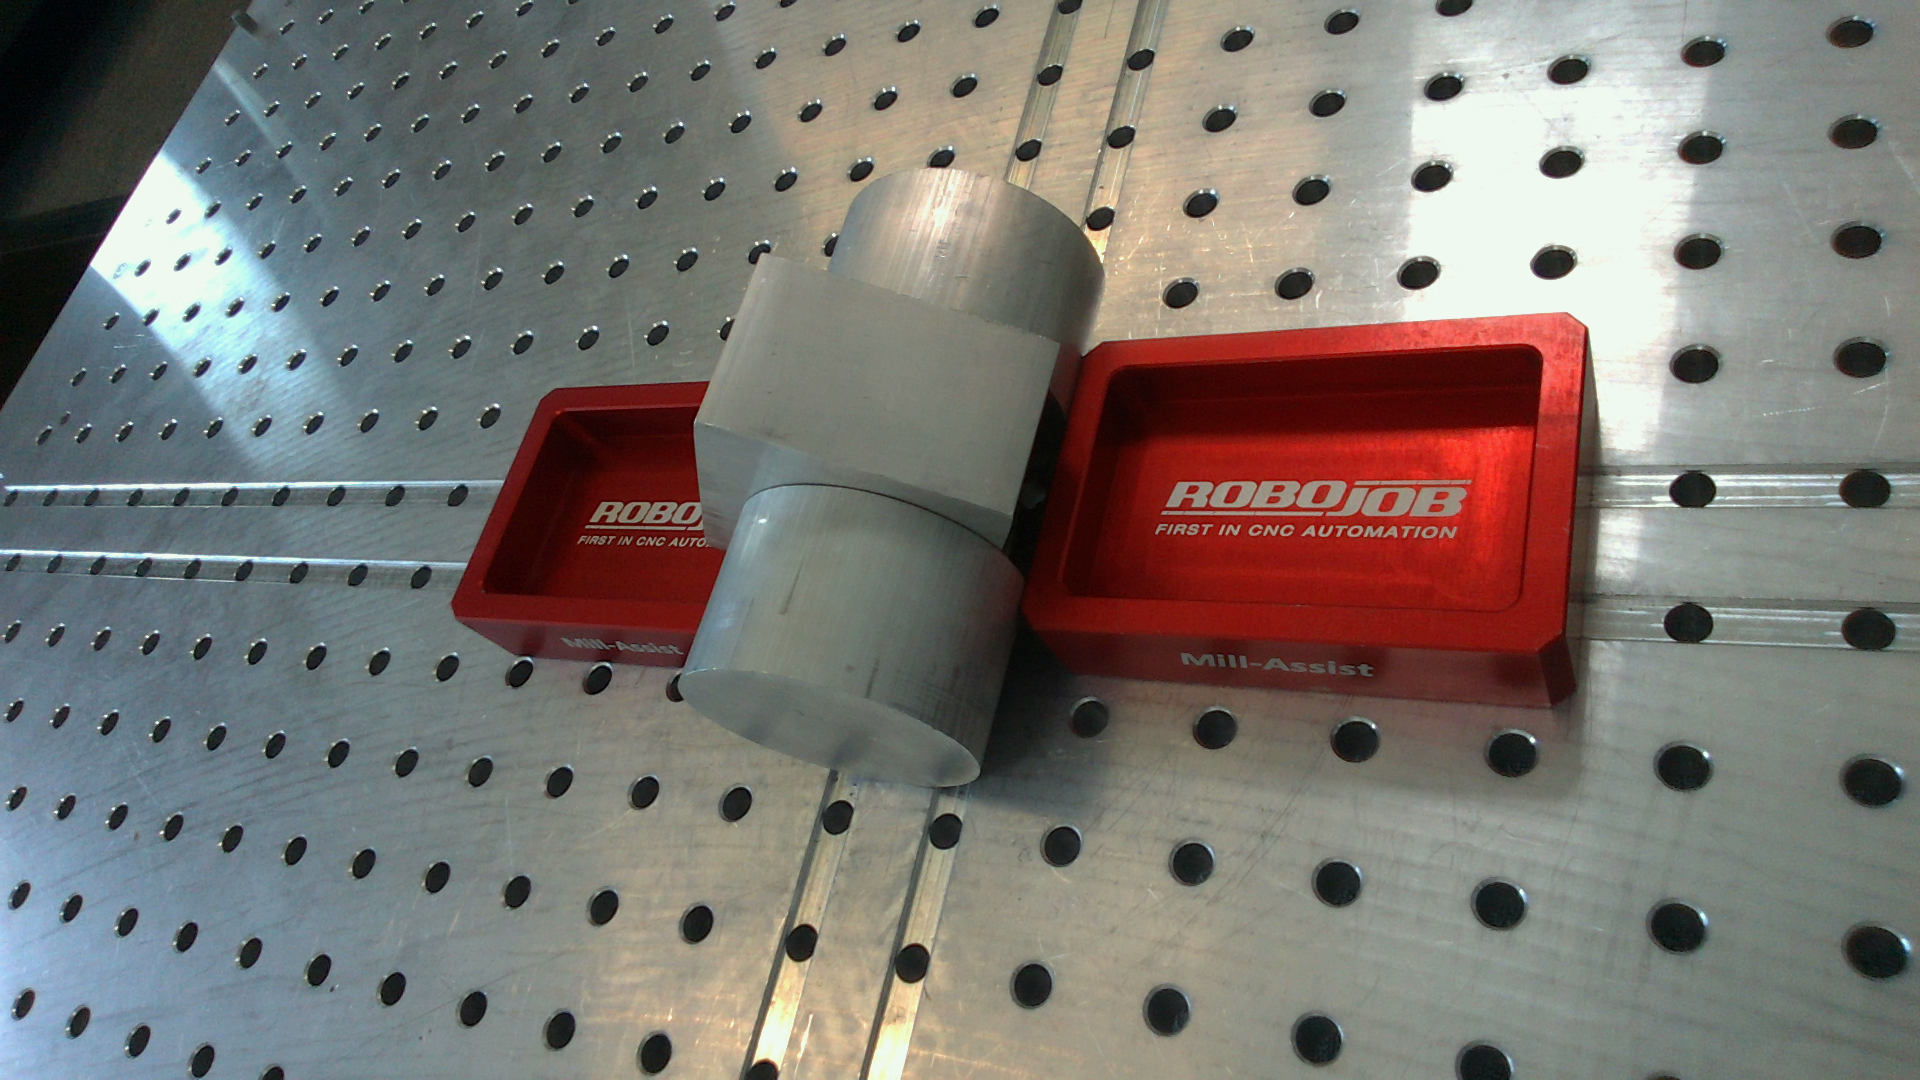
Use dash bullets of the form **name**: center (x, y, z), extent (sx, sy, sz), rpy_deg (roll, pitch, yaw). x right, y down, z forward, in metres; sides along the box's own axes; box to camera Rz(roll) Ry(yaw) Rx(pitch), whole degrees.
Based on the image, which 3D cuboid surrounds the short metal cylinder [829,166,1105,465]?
- **short metal cylinder**: center (-0.002, -0.062, 0.400), extent (0.080, 0.080, 0.050), rpy_deg (1, 62, 29)

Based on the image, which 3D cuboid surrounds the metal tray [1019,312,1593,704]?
- **metal tray**: center (0.088, -0.009, 0.351), extent (0.130, 0.030, 0.090), rpy_deg (1, 62, 29)

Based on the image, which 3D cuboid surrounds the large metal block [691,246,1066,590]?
- **large metal block**: center (-0.024, -0.024, 0.370), extent (0.080, 0.080, 0.050), rpy_deg (17, 66, -1)

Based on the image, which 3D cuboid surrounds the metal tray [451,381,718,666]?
- **metal tray**: center (-0.095, -0.006, 0.448), extent (0.130, 0.030, 0.090), rpy_deg (1, 62, 29)

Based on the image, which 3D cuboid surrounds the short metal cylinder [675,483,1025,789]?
- **short metal cylinder**: center (-0.027, 0.027, 0.359), extent (0.080, 0.080, 0.050), rpy_deg (2, 62, 29)
